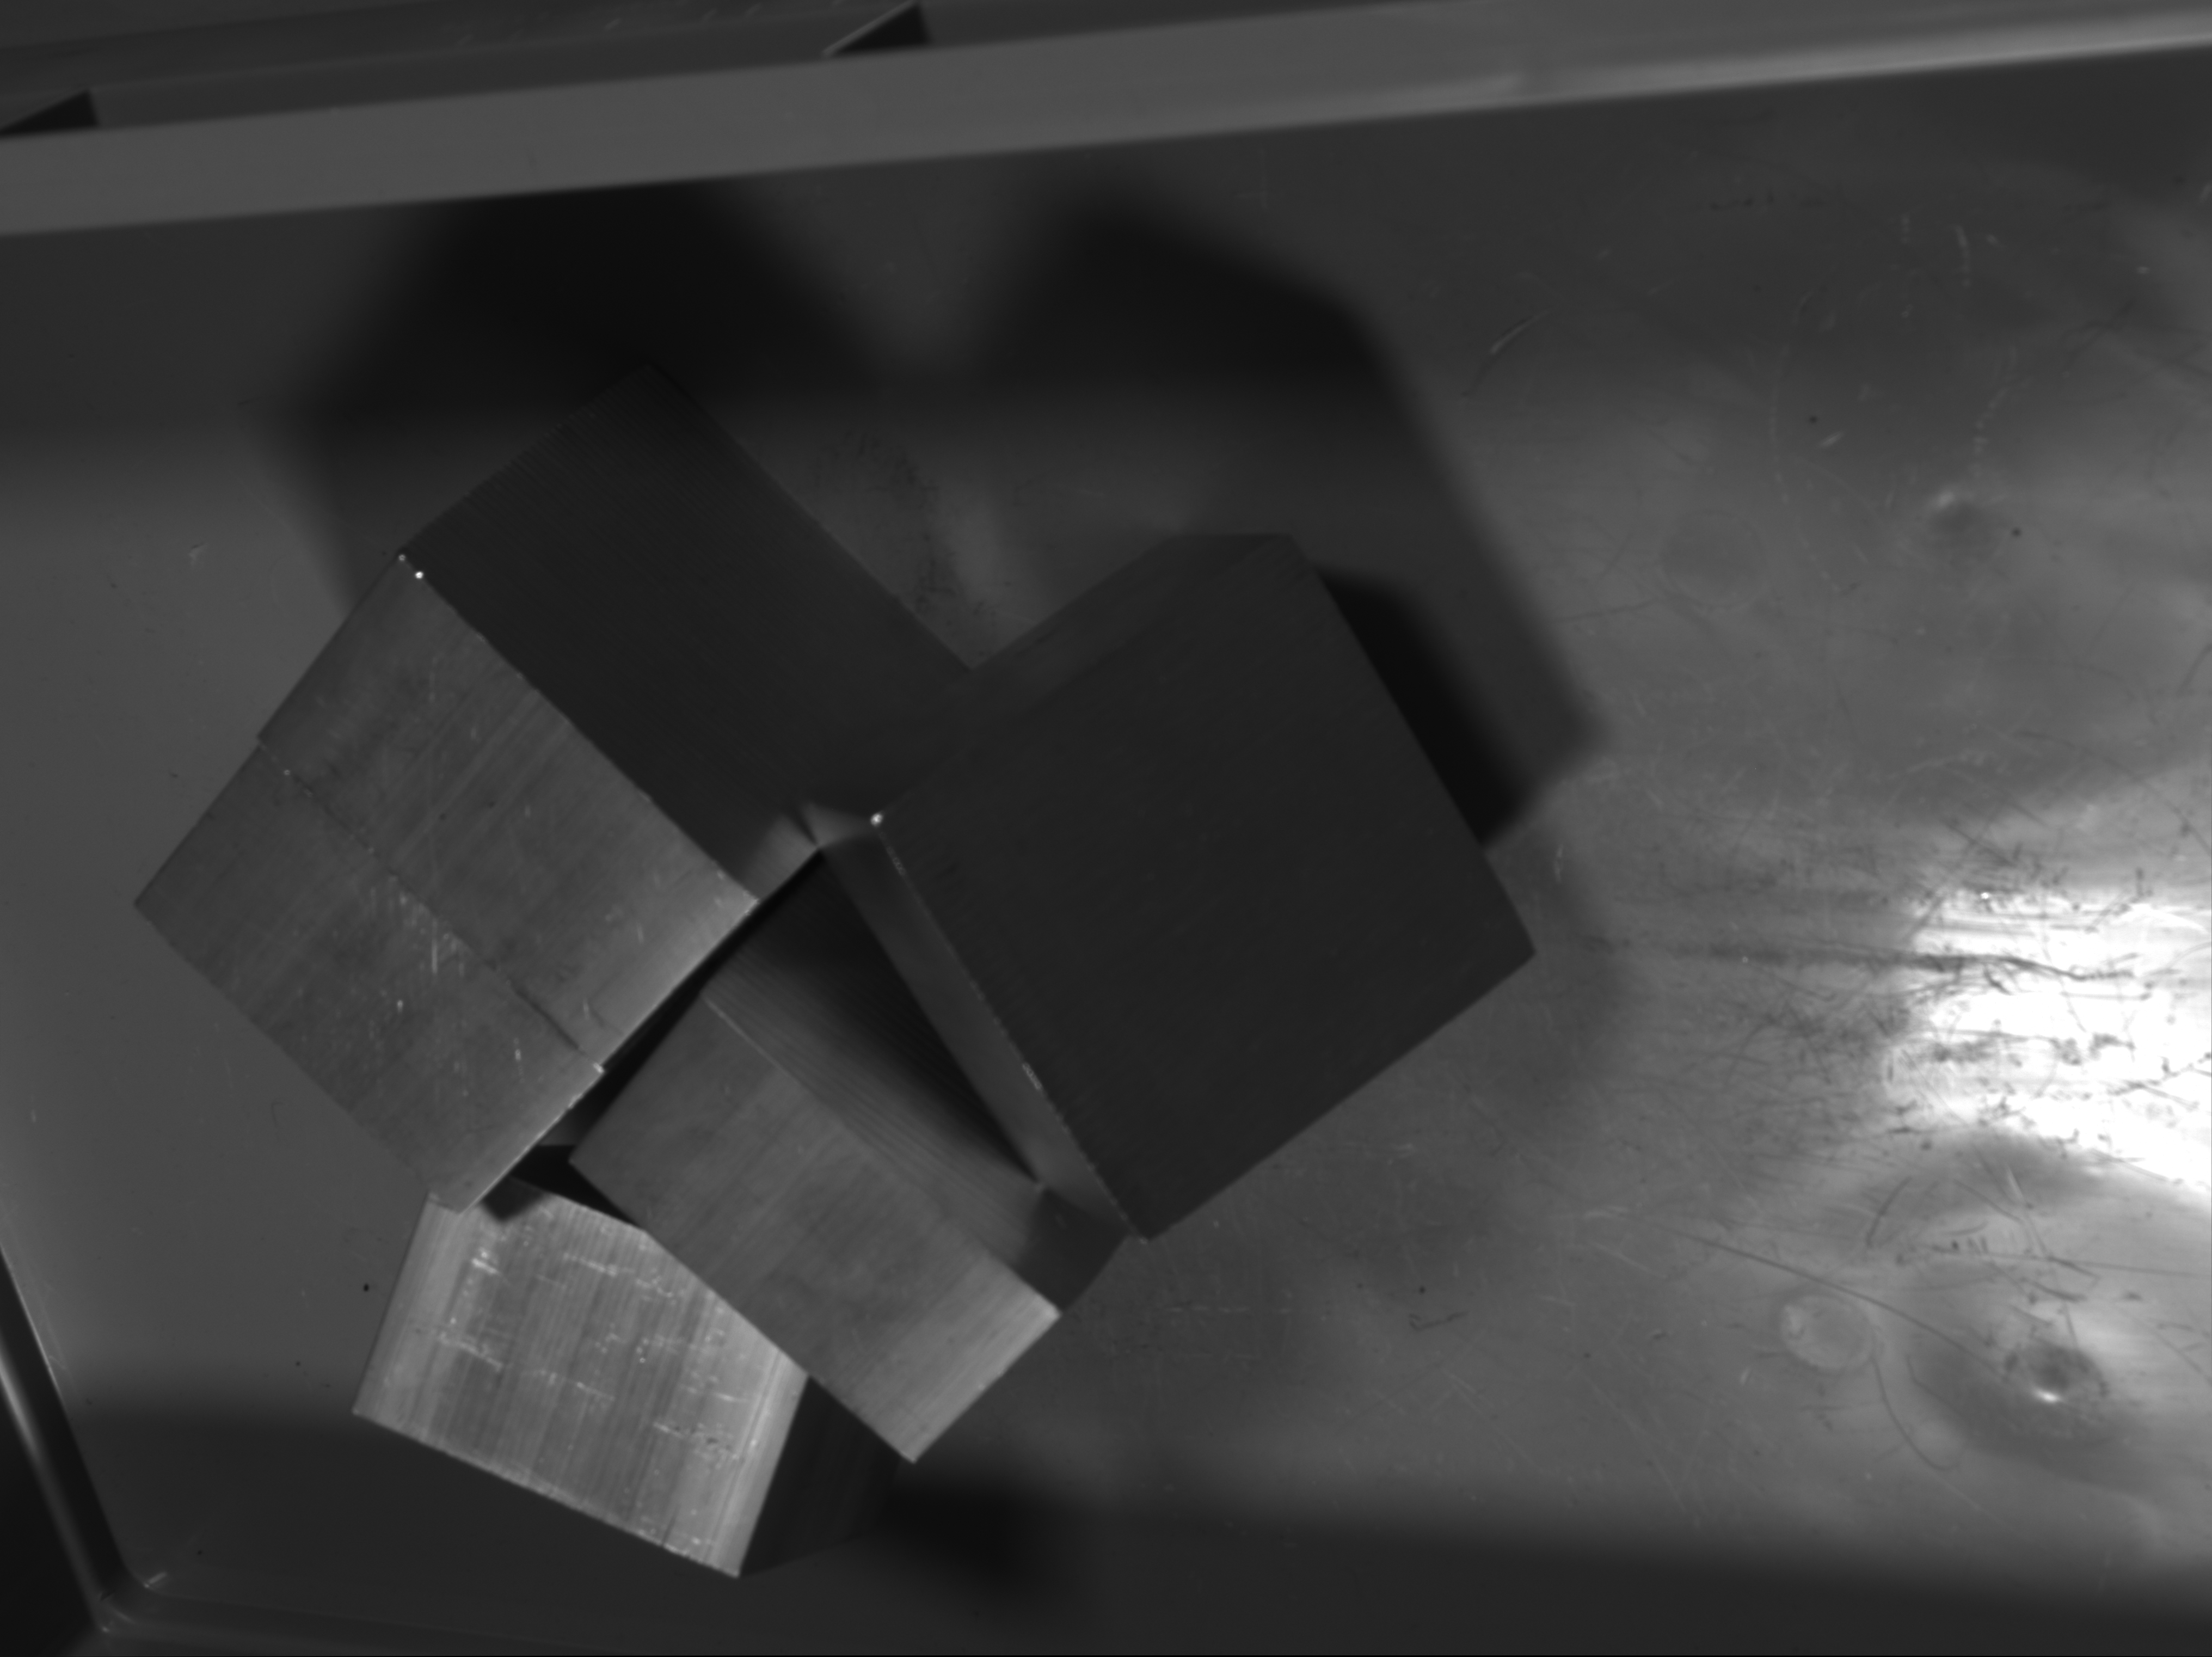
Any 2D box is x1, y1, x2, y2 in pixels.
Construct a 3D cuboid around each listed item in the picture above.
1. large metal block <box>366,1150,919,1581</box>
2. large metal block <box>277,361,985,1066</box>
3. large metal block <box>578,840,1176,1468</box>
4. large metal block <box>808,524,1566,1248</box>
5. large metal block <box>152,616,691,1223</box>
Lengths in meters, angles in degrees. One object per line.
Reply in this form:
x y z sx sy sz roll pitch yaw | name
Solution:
-0.078 0.097 0.684 0.080 0.080 0.050 20 91 15 | large metal block
-0.077 -0.021 0.621 0.080 0.080 0.050 44 128 -3 | large metal block
-0.031 0.049 0.639 0.080 0.080 0.050 41 128 -1 | large metal block
0.012 0.007 0.585 0.080 0.080 0.050 58 166 -14 | large metal block
-0.107 0.009 0.654 0.080 0.080 0.050 44 128 -4 | large metal block
